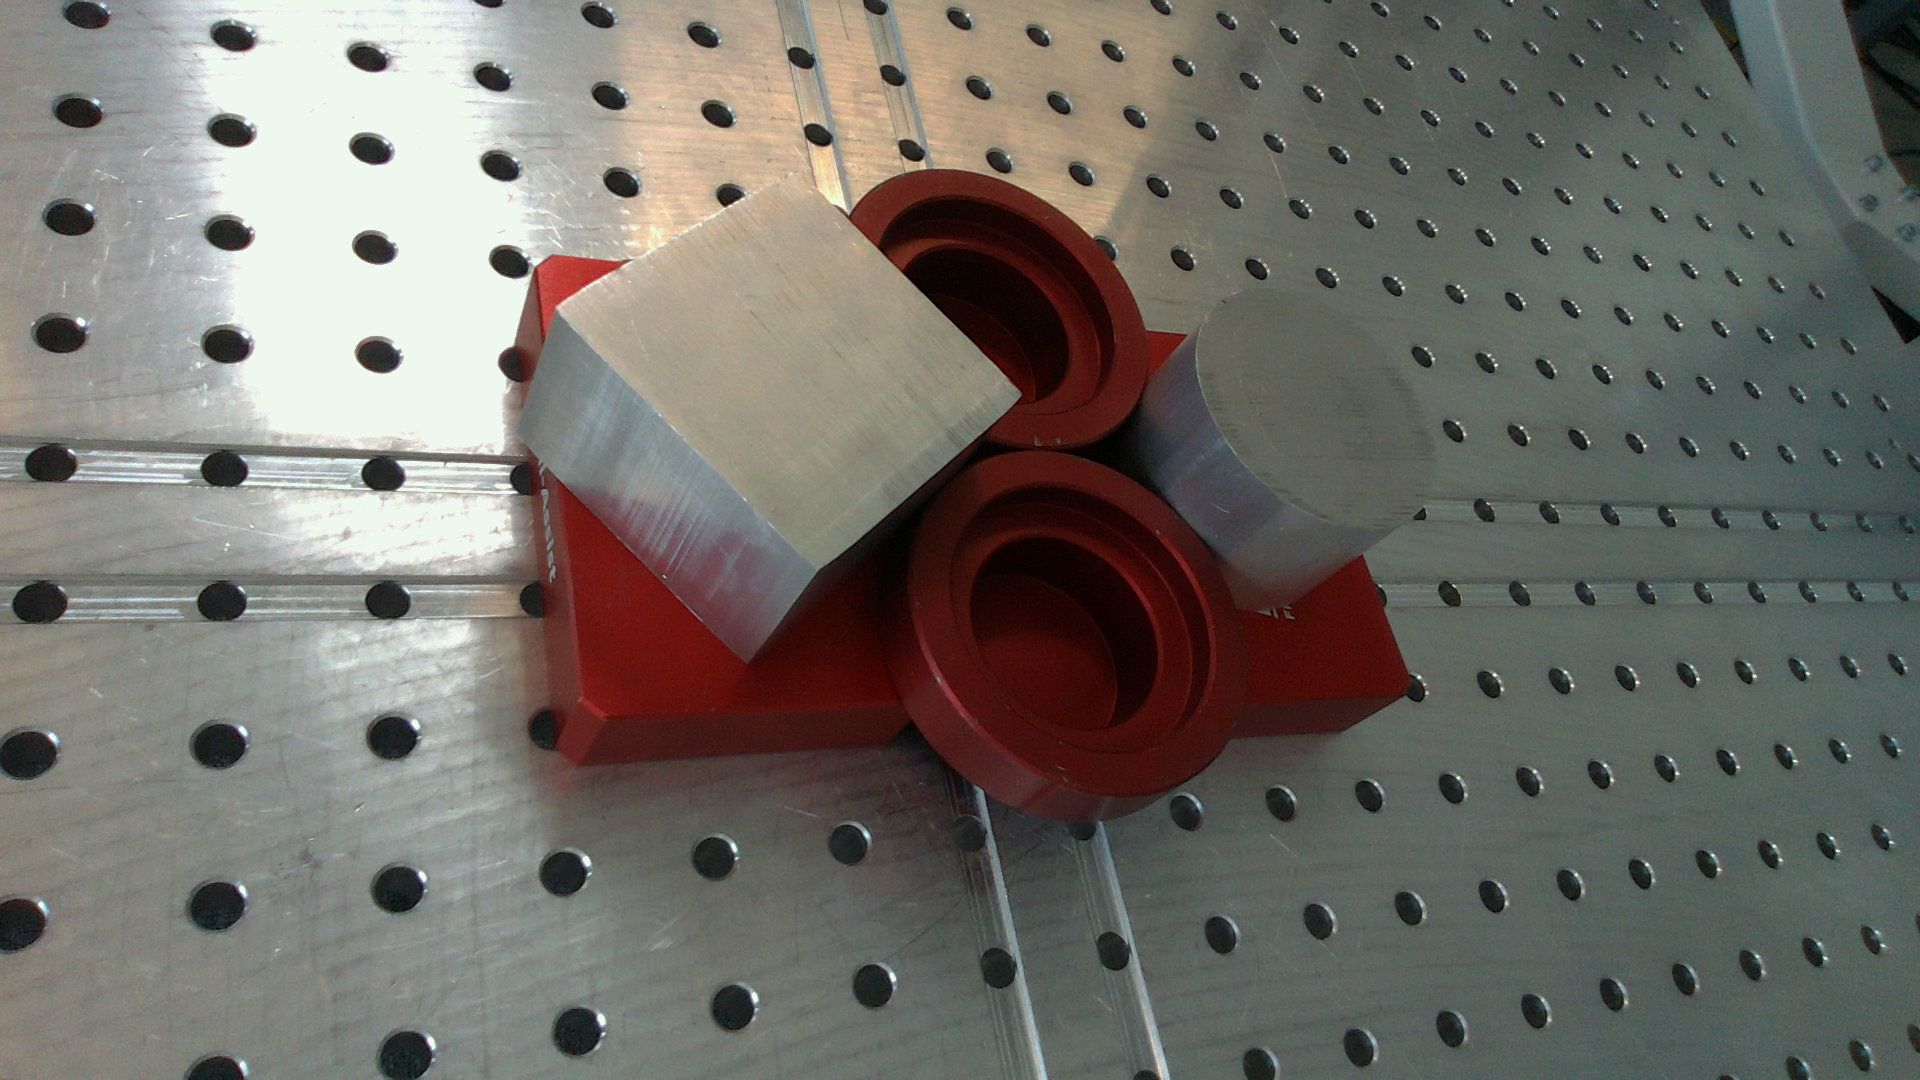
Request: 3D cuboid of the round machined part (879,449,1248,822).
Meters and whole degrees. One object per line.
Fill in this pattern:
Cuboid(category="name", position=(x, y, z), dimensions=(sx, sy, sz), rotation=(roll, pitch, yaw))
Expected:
Cuboid(category="round machined part", position=(0.024, 0.028, 0.365), dimensions=(0.098, 0.042, 0.098), rotation=(14, 56, -21))

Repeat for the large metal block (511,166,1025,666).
Cuboid(category="large metal block", position=(-0.046, -0.031, 0.332), dimensions=(0.080, 0.050, 0.080), rotation=(45, 51, 3))

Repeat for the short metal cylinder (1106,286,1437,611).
Cuboid(category="short metal cylinder", position=(0.090, -0.026, 0.401), dimensions=(0.080, 0.050, 0.080), rotation=(14, 56, -21))

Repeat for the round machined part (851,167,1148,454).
Cuboid(category="round machined part", position=(0.003, -0.059, 0.408), dimensions=(0.098, 0.042, 0.098), rotation=(14, 56, -21))

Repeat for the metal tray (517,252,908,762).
Cuboid(category="metal tray", position=(-0.063, -0.011, 0.361), dimensions=(0.090, 0.030, 0.130), rotation=(1, 61, -29))

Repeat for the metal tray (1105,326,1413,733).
Cuboid(category="metal tray", position=(0.079, -0.005, 0.432), dimensions=(0.090, 0.030, 0.130), rotation=(1, 61, -28))
